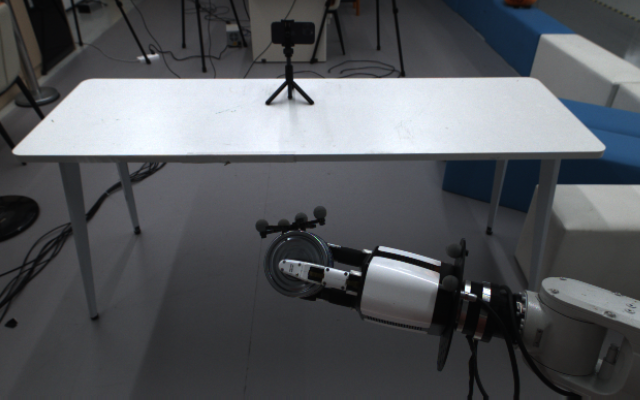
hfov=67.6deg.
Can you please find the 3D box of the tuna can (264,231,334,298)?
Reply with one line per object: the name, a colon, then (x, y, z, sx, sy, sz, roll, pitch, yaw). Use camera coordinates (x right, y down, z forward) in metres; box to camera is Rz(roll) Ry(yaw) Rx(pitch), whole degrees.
tuna can: (-0.023, 0.087, 0.614, 0.085, 0.085, 0.034, 12, -6, 14)
